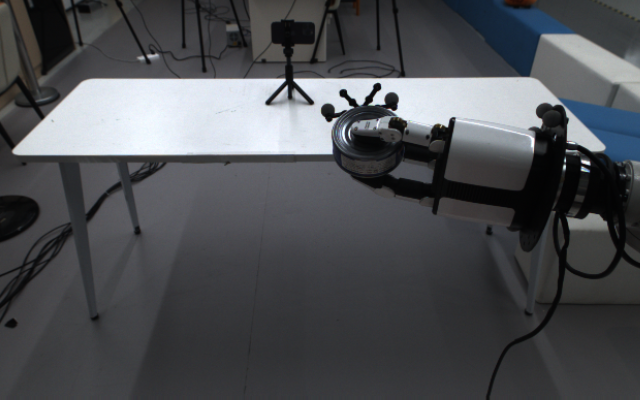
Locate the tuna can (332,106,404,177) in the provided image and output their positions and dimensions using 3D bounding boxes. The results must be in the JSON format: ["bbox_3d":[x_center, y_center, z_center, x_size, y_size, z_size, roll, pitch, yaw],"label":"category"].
[{"bbox_3d":[0.059,-0.071,0.569,0.085,0.034,0.085,-3,59,5],"label":"tuna can"}]
